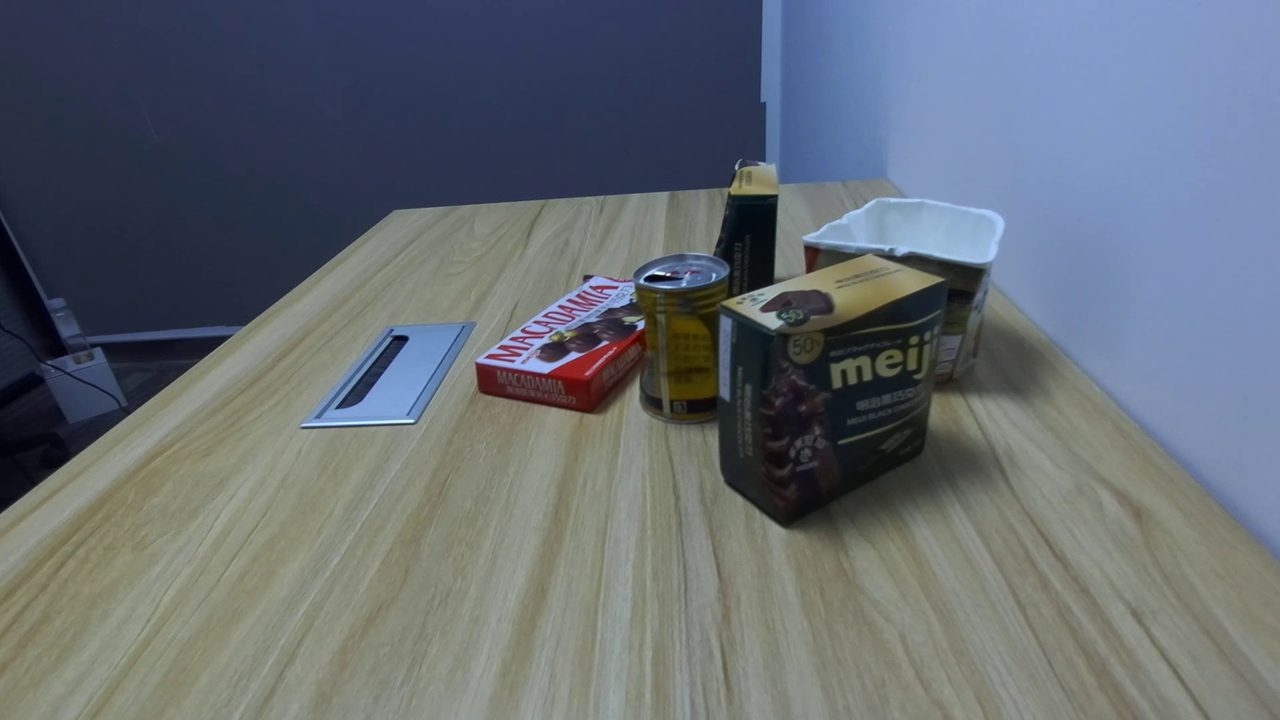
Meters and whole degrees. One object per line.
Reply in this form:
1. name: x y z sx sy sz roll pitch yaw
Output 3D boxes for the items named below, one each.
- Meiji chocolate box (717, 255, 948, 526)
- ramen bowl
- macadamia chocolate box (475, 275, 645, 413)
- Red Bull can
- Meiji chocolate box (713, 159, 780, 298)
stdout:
1. Meiji chocolate box: 0.100 0.013 0.370 0.113 0.111 0.058 -19 31 -26
2. ramen bowl: 0.184 -0.055 0.497 0.113 0.098 0.134 8 31 26
3. macadamia chocolate box: -0.035 -0.024 0.549 0.105 0.028 0.183 8 30 25
4. Red Bull can: 0.029 -0.016 0.453 0.072 0.092 0.072 -4 29 3
5. Meiji chocolate box: 0.086 -0.093 0.571 0.051 0.117 0.117 5 29 4
